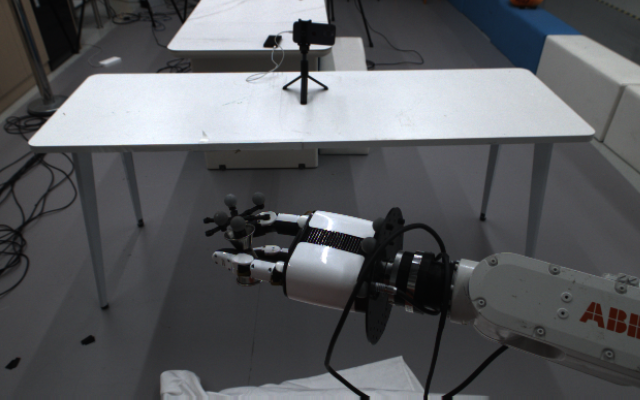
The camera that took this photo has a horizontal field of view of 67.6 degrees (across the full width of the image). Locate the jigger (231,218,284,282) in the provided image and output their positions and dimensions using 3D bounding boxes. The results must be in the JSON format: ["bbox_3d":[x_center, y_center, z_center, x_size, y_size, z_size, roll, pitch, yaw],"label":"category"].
[{"bbox_3d":[-0.091,0.068,0.621,0.043,0.071,0.043,-10,23,5],"label":"jigger"}]
